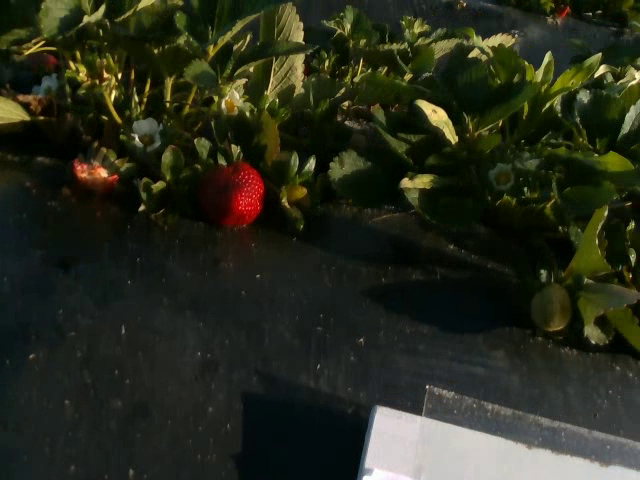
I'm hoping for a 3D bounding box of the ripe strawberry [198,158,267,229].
[{"bbox_3d":[-0.055,-0.028,0.334,0.052,0.041,0.052,-14,16,-5],"label":"ripe strawberry"}]
